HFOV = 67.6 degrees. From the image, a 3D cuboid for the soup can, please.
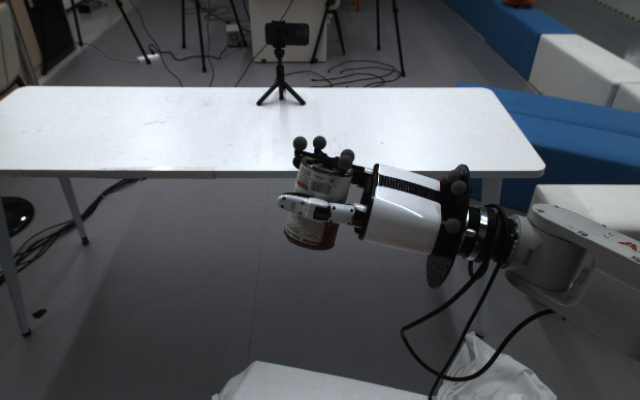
[{"bbox_3d":[-0.001,0.003,0.607,0.067,0.101,0.067,13,18,-4],"label":"soup can"}]
